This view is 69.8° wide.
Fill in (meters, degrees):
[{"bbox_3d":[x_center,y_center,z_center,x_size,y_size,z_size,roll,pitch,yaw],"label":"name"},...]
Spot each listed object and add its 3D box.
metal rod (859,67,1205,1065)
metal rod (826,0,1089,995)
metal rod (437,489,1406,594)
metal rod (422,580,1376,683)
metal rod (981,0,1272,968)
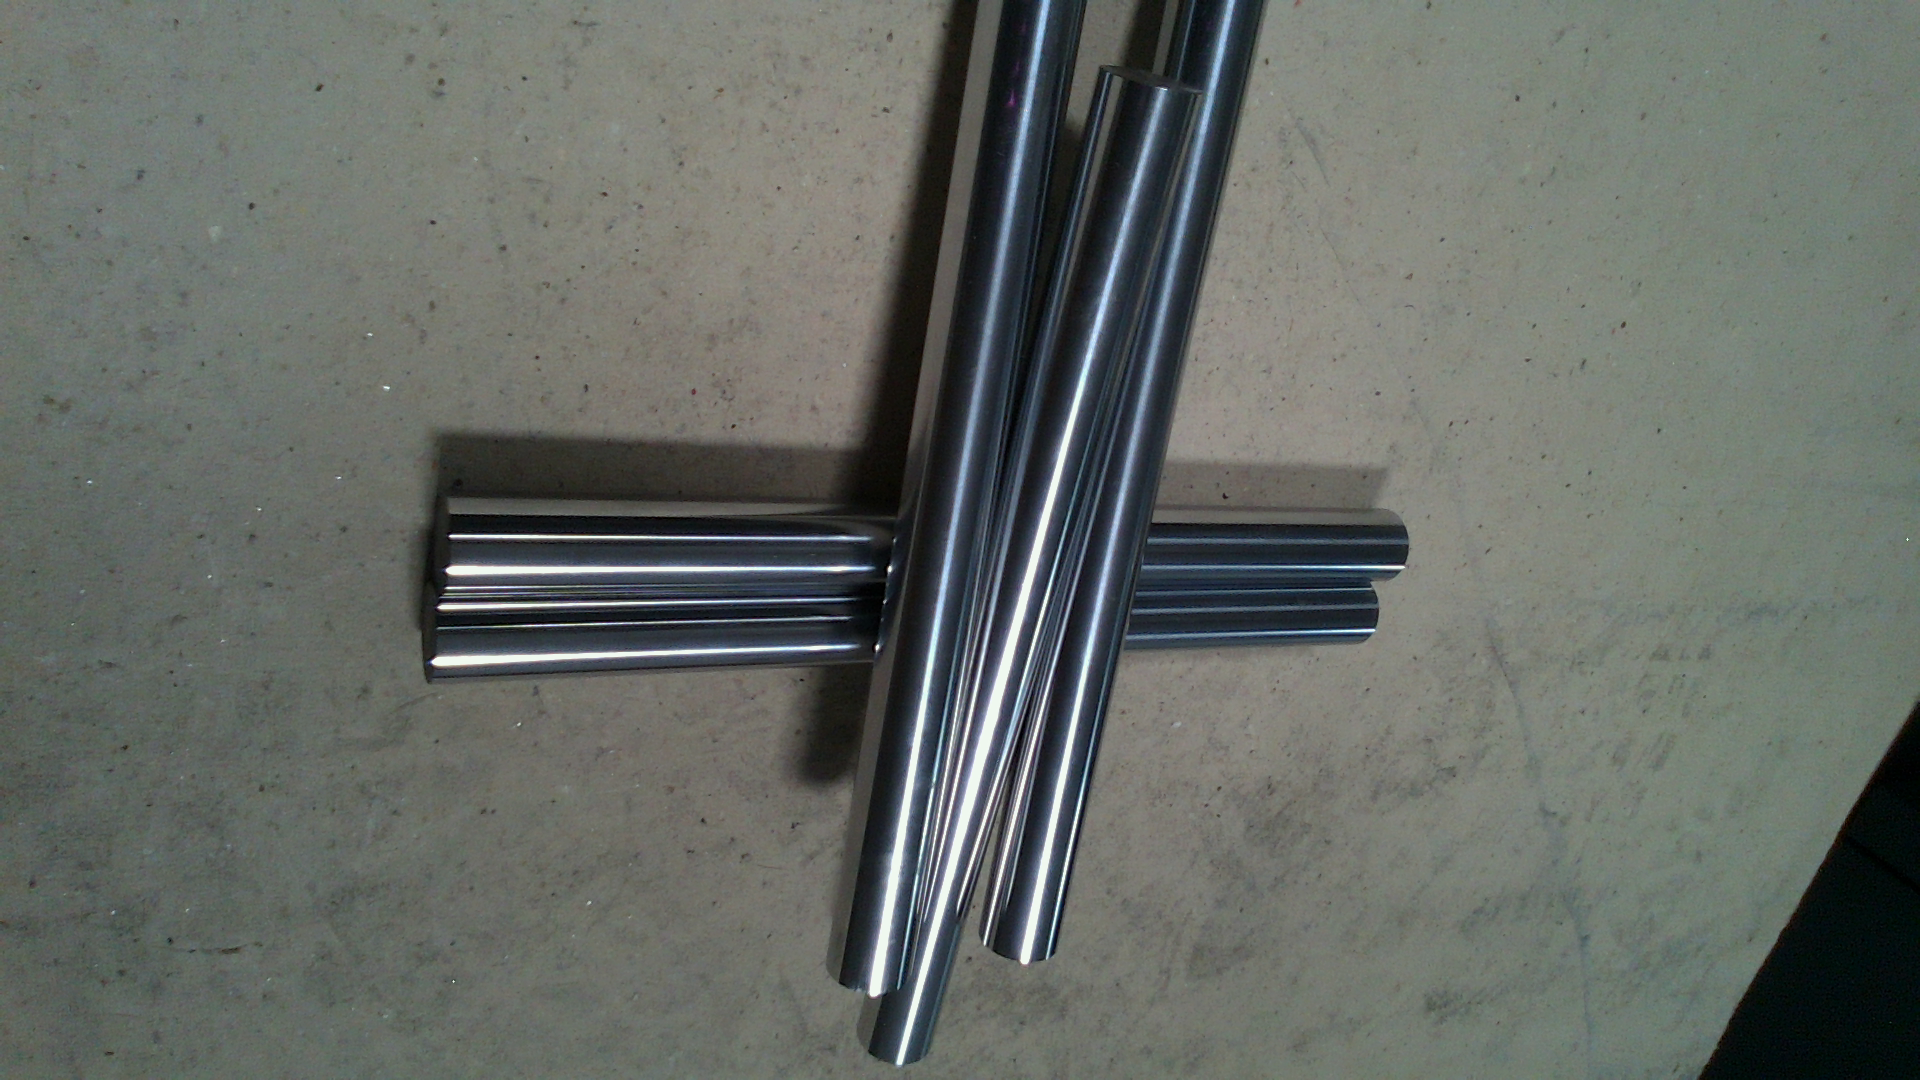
[{"bbox_3d":[0.012,0.026,0.379,0.025,0.025,0.300,0,118,-28],"label":"metal rod"},{"bbox_3d":[-0.002,-0.017,0.351,0.025,0.025,0.300,0,110,-28],"label":"metal rod"},{"bbox_3d":[0.010,0.001,0.396,0.301,0.025,0.025,0,118,-28],"label":"metal rod"},{"bbox_3d":[0.003,0.023,0.406,0.301,0.025,0.025,0,118,-28],"label":"metal rod"},{"bbox_3d":[0.044,-0.018,0.374,0.025,0.025,0.300,0,110,-28],"label":"metal rod"}]
